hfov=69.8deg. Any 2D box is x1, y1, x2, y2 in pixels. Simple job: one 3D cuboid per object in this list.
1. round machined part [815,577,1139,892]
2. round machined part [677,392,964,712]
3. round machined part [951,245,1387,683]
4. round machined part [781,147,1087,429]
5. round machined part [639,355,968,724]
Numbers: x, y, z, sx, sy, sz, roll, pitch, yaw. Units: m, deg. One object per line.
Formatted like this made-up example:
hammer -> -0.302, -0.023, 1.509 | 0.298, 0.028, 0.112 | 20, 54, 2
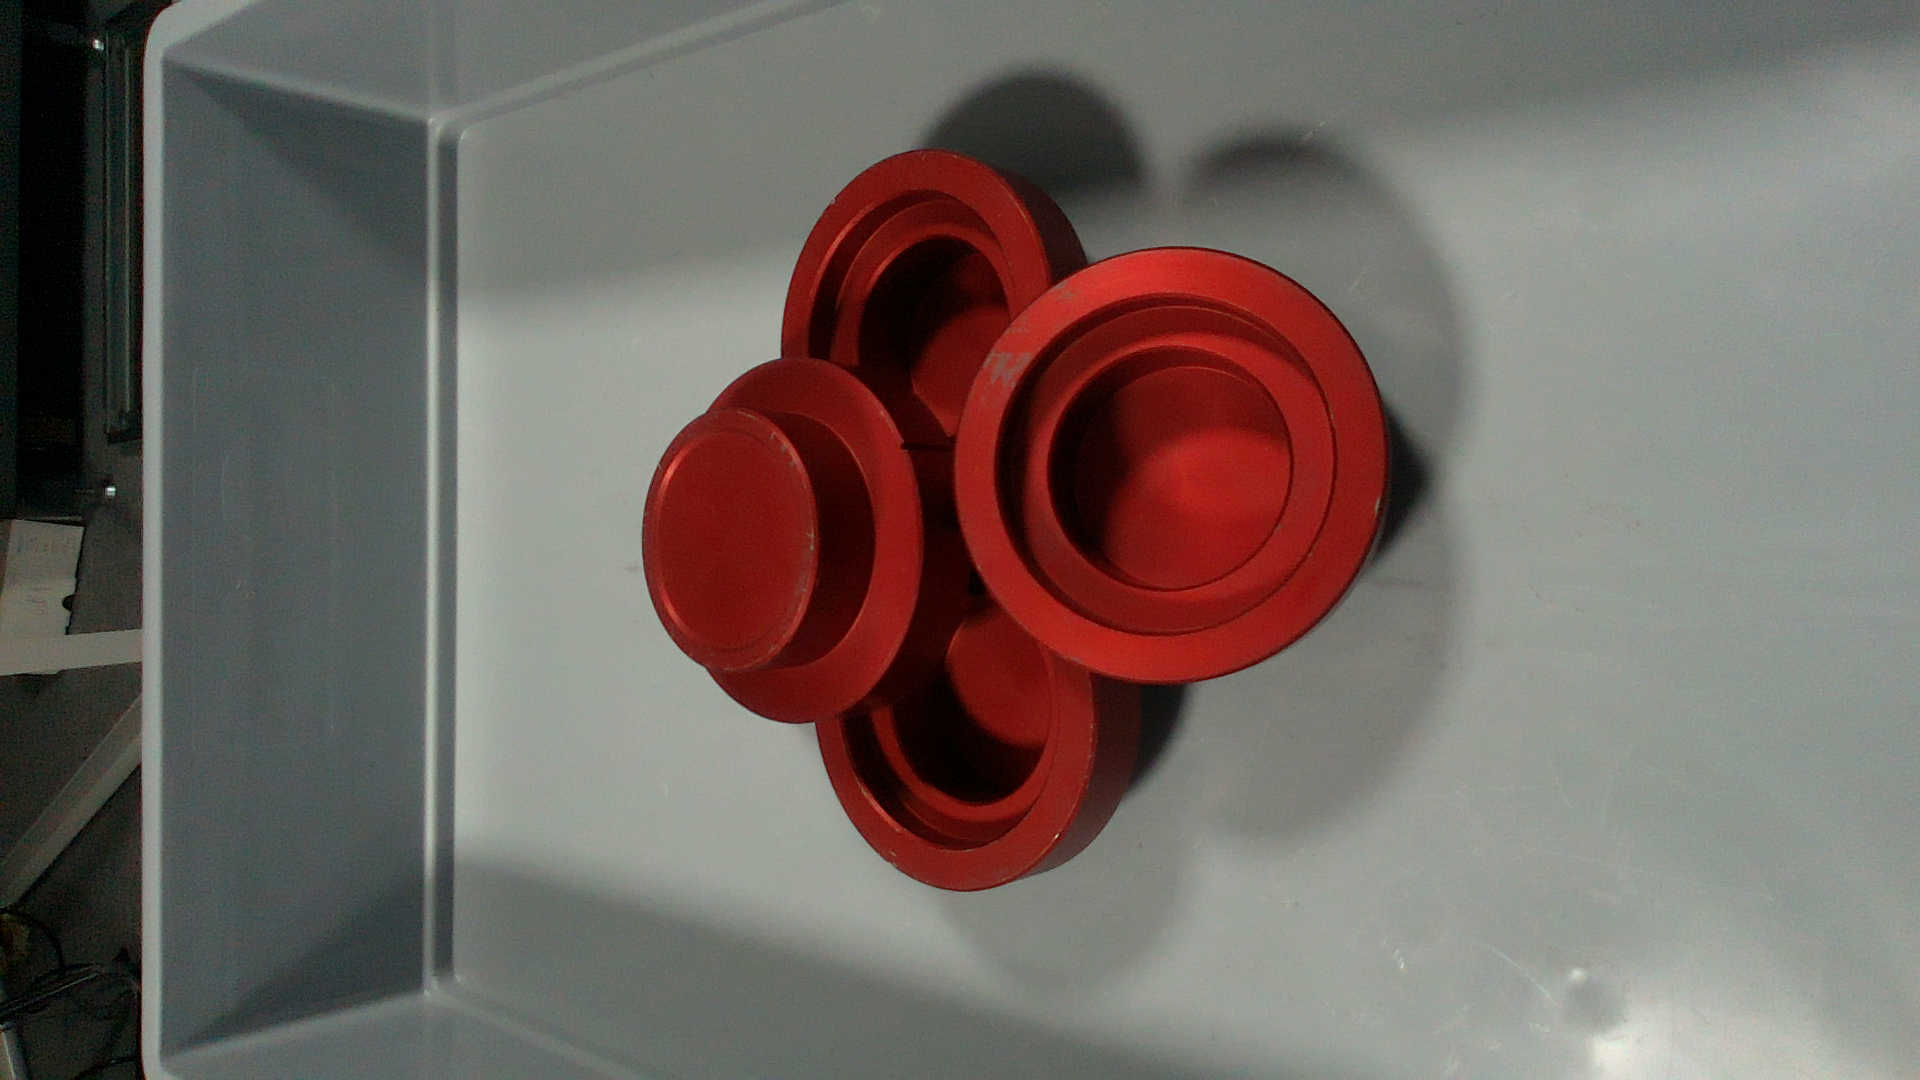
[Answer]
round machined part -> 0.008, 0.042, 0.375 | 0.098, 0.042, 0.098 | 0, 90, 40
round machined part -> -0.049, 0.004, 0.421 | 0.098, 0.042, 0.098 | 0, 90, 40
round machined part -> 0.051, -0.016, 0.325 | 0.098, 0.042, 0.098 | -1, 87, 20
round machined part -> -0.002, -0.055, 0.384 | 0.098, 0.042, 0.098 | 0, 90, 40
round machined part -> -0.048, 0.000, 0.365 | 0.098, 0.042, 0.098 | 0, 90, 40
